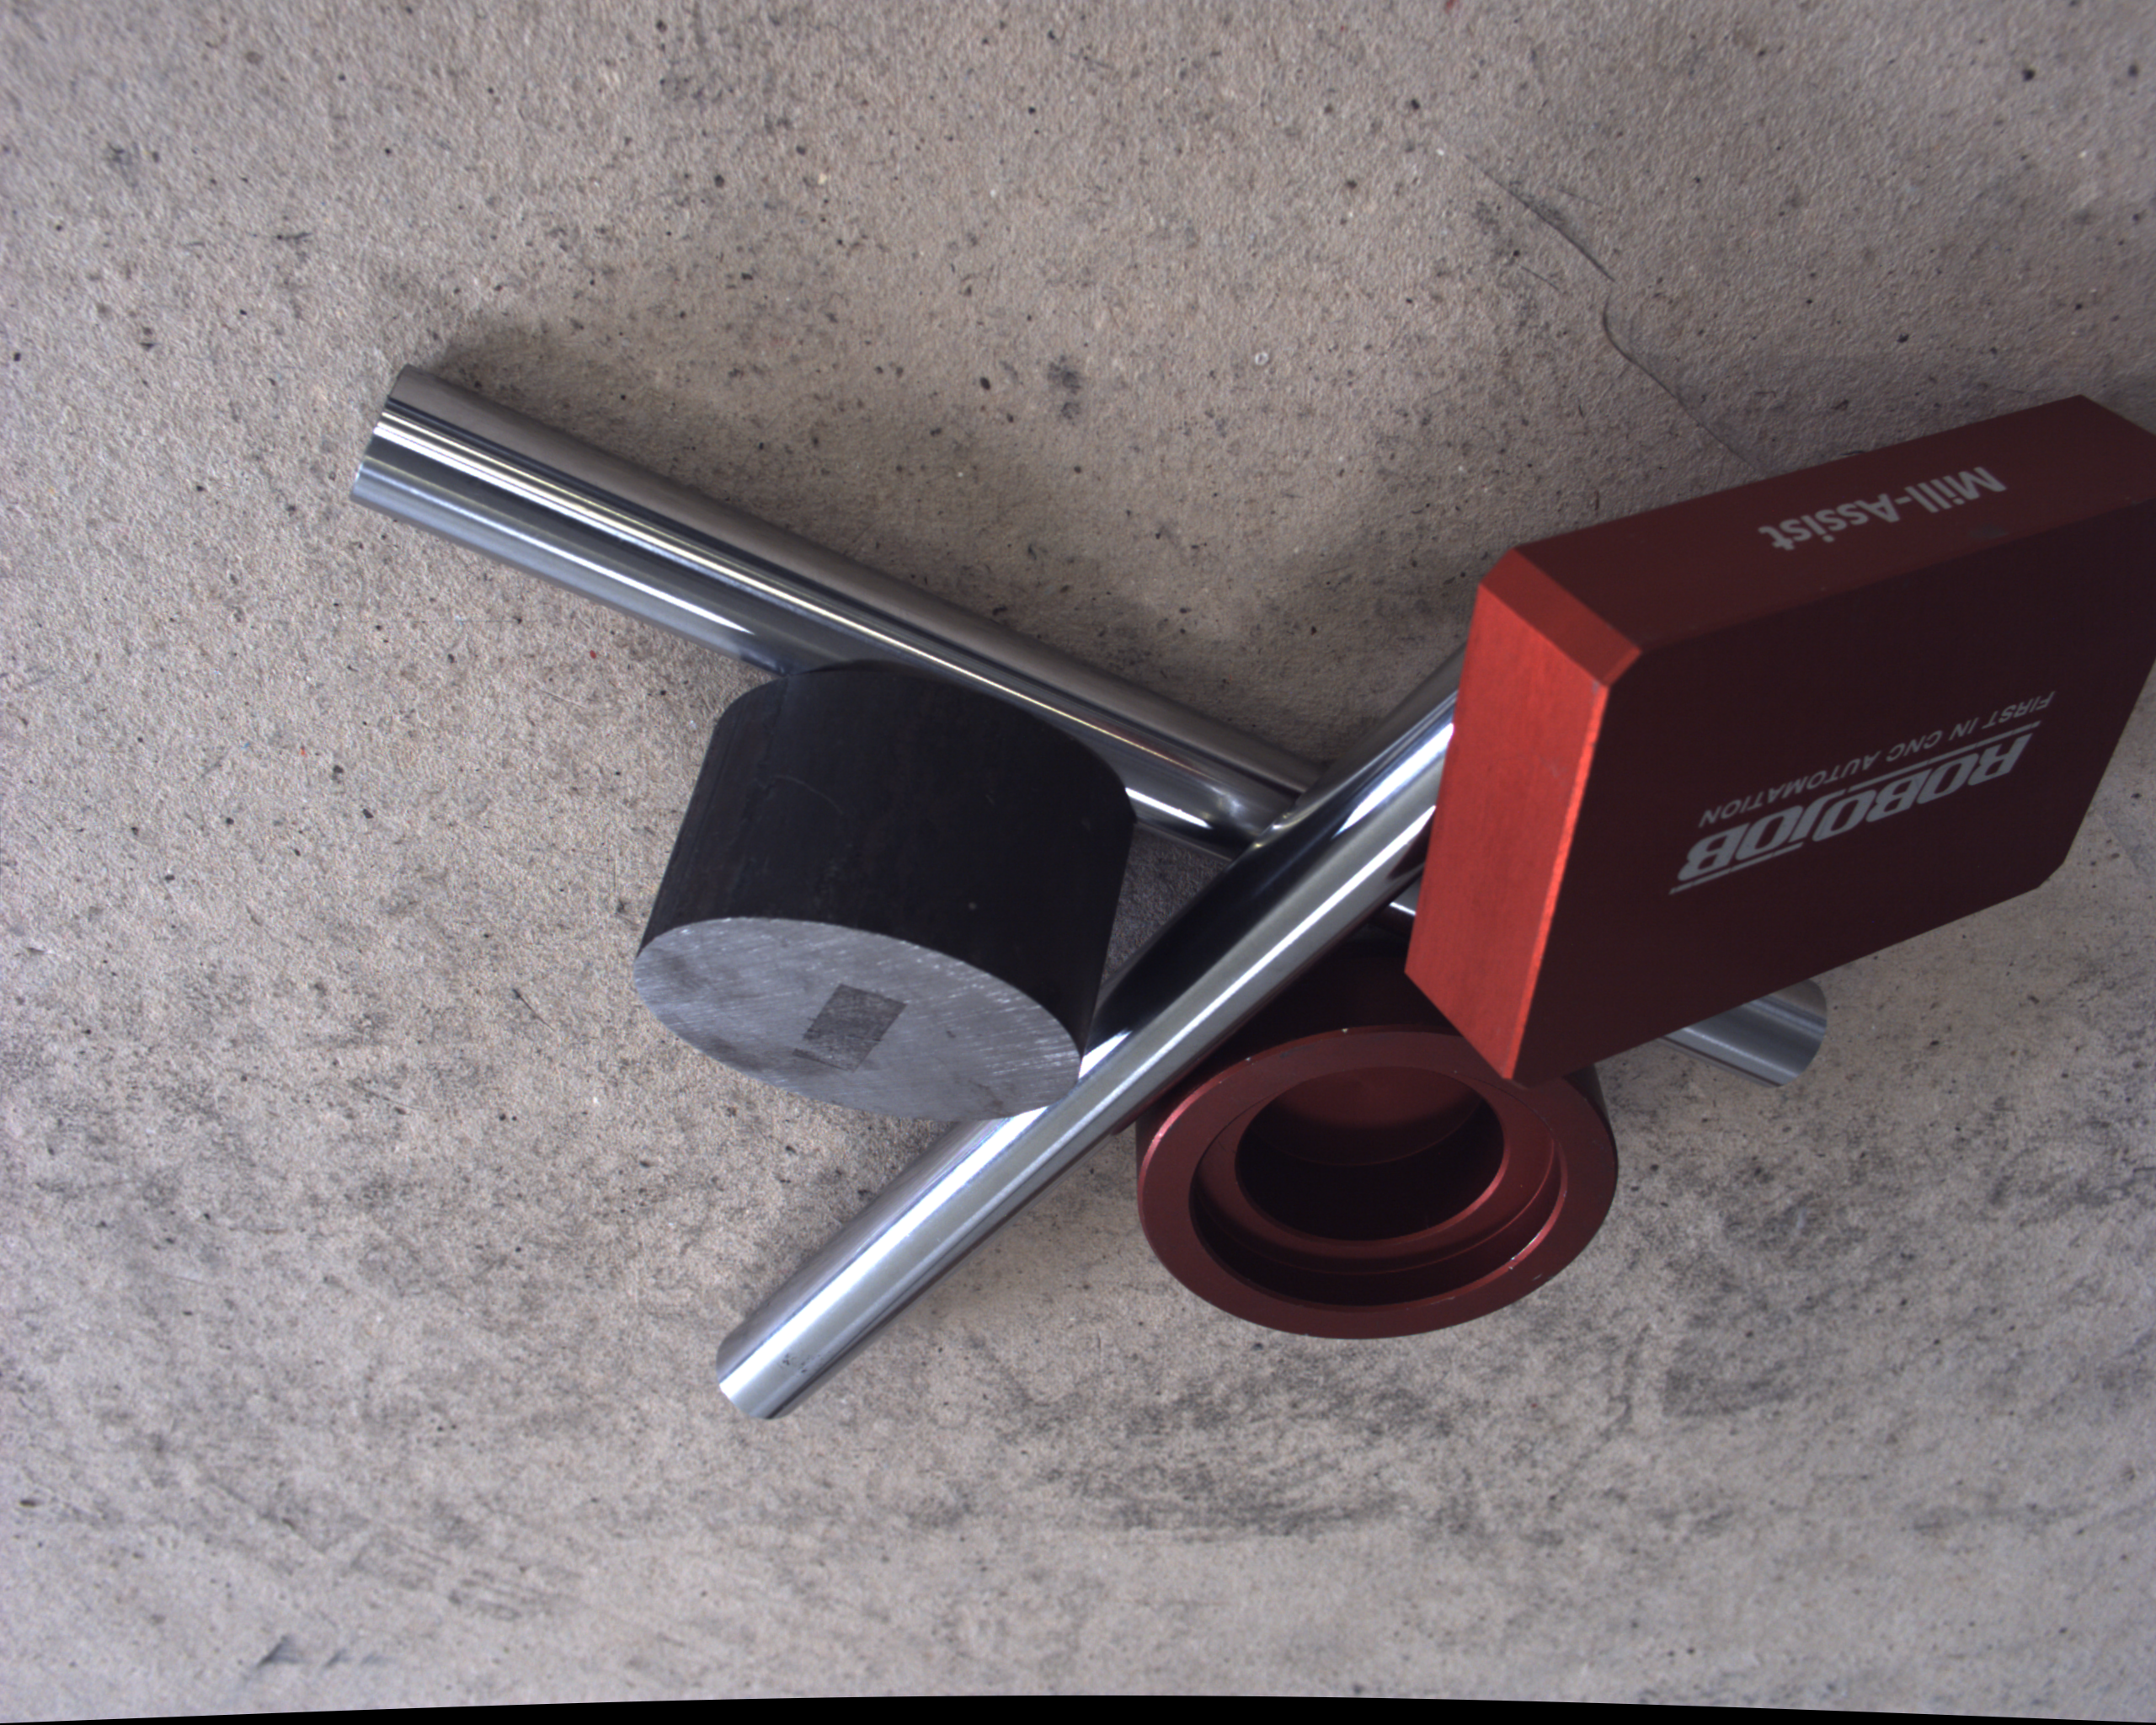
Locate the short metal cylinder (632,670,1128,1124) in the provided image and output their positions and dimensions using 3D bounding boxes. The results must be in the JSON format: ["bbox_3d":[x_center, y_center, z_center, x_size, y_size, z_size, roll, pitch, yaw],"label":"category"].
[{"bbox_3d":[-0.035,0.008,0.382,0.080,0.050,0.080,10,151,6],"label":"short metal cylinder"}]

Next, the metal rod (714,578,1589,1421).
[{"bbox_3d":[0.003,0.042,0.422,0.025,0.025,0.298,26,132,-21],"label":"metal rod"}]

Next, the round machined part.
[{"bbox_3d":[0.061,0.055,0.445,0.099,0.042,0.097,0,130,0],"label":"round machined part"}]

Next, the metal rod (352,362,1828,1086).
[{"bbox_3d":[0.017,-0.018,0.394,0.302,0.025,0.025,22,127,-18],"label":"metal rod"}]

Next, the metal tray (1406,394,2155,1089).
[{"bbox_3d":[0.123,-0.021,0.352,0.131,0.030,0.089,-17,134,-23],"label":"metal tray"}]
